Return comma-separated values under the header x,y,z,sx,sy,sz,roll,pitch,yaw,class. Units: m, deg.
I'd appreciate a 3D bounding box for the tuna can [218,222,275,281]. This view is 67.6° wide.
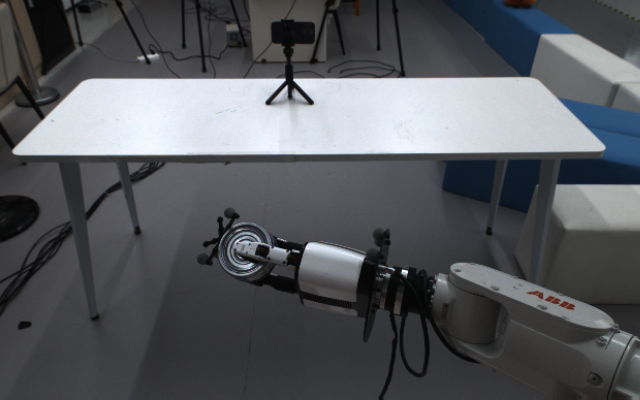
x,y,z,sx,sy,sz,roll,pitch,yaw,class
-0.105,0.076,0.717,0.085,0.034,0.085,-3,70,9,tuna can
